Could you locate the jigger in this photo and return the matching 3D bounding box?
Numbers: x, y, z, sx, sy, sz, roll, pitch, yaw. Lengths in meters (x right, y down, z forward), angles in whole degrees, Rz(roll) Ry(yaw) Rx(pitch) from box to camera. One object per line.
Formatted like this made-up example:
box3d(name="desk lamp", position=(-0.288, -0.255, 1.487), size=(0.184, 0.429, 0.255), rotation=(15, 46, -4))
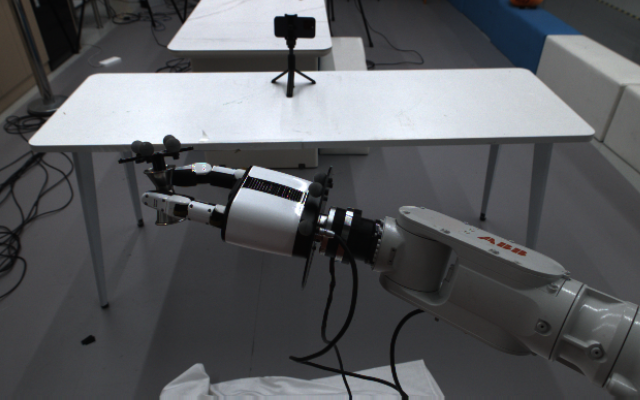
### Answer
box3d(name="jigger", position=(-0.191, -0.008, 0.611), size=(0.043, 0.071, 0.043), rotation=(-9, 16, 3))
